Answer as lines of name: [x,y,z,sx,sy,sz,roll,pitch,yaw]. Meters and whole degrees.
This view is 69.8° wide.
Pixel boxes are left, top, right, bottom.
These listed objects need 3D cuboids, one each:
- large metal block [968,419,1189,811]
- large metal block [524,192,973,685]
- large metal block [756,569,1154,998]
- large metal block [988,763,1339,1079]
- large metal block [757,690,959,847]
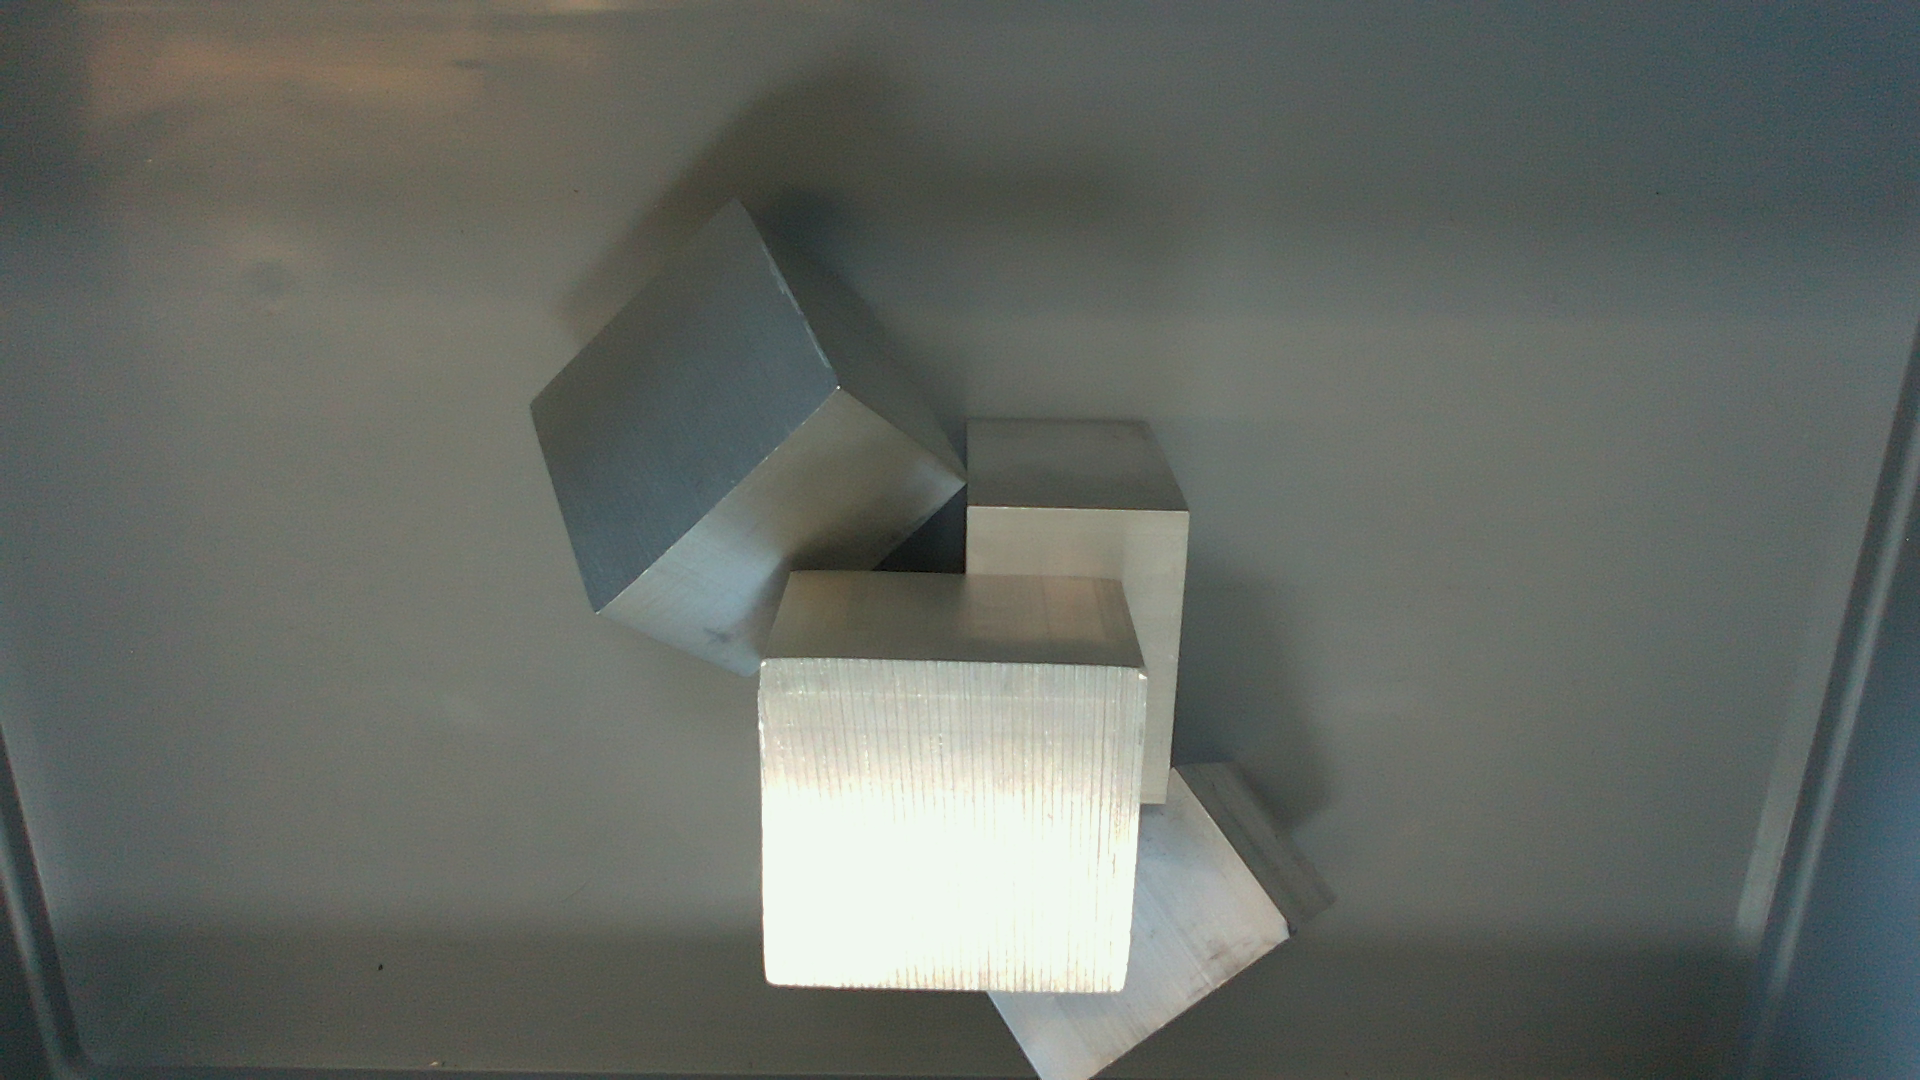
large metal block: [0.027,0.016,0.368,0.050,0.080,0.080,1,110,-1]
large metal block: [-0.056,-0.025,0.346,0.080,0.080,0.050,-41,140,13]
large metal block: [-0.002,0.054,0.314,0.080,0.050,0.080,2,110,-1]
large metal block: [0.056,0.109,0.396,0.080,0.080,0.050,-40,70,13]
large metal block: [-0.026,0.062,0.386,0.050,0.080,0.080,1,110,-1]
